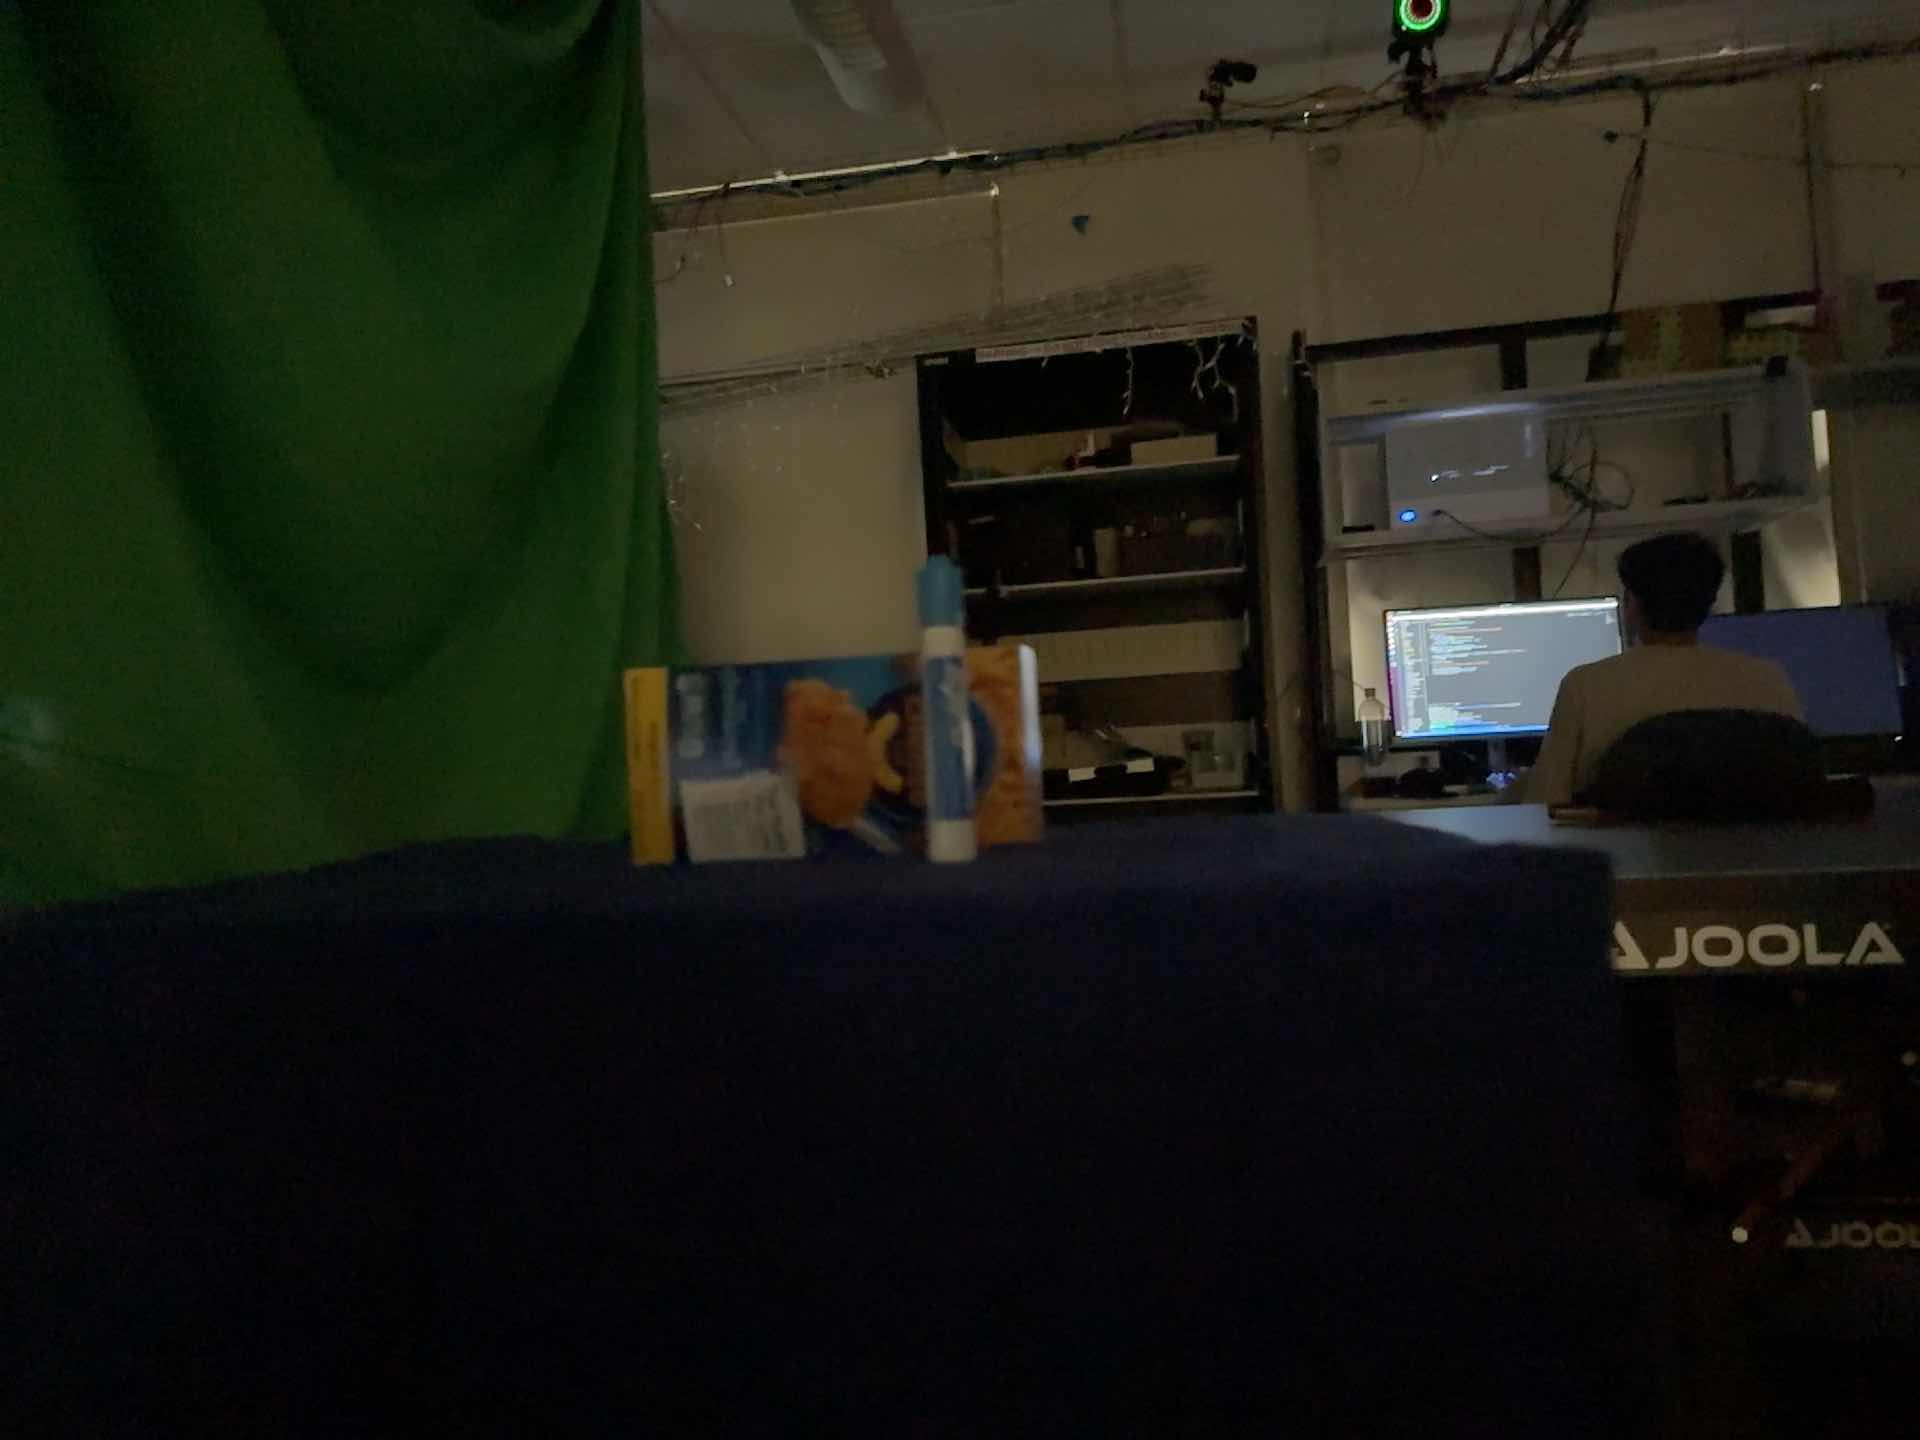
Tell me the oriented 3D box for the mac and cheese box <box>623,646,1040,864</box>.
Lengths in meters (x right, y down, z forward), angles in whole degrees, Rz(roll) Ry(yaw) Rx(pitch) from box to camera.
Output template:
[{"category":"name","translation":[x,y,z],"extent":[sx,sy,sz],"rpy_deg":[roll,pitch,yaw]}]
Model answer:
[{"category":"mac and cheese box","translation":[-0.059,0.017,0.617],"extent":[0.181,0.088,0.035],"rpy_deg":[-3,-3,8]}]

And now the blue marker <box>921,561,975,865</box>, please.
[{"category":"blue marker","translation":[-0.005,-0.003,0.540],"extent":[0.020,0.121,0.020],"rpy_deg":[-2,-3,0]}]
